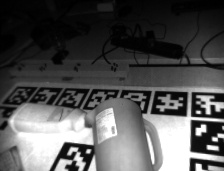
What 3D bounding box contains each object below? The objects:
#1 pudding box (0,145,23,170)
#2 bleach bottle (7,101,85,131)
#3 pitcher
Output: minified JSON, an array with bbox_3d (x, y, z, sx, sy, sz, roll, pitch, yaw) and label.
[{"bbox_3d":[-0.286,0.214,0.562,0.090,0.039,0.112,-24,42,-19],"label":"pudding box"},{"bbox_3d":[-0.186,0.093,0.661,0.249,0.068,0.102,0,47,14],"label":"bleach bottle"},{"bbox_3d":[0.029,0.157,0.498,0.191,0.133,0.240,11,40,-23],"label":"pitcher"}]
